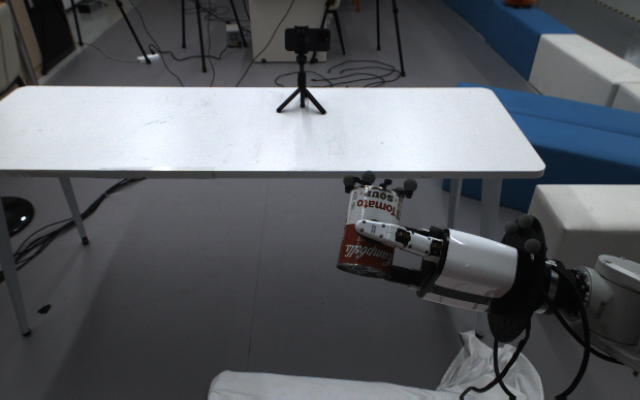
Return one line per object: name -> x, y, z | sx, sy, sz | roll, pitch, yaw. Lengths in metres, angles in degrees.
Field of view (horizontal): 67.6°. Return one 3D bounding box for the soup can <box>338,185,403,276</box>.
soup can -> 0.065, 0.039, 0.602 | 0.067, 0.067, 0.101 | 9, 74, 9
